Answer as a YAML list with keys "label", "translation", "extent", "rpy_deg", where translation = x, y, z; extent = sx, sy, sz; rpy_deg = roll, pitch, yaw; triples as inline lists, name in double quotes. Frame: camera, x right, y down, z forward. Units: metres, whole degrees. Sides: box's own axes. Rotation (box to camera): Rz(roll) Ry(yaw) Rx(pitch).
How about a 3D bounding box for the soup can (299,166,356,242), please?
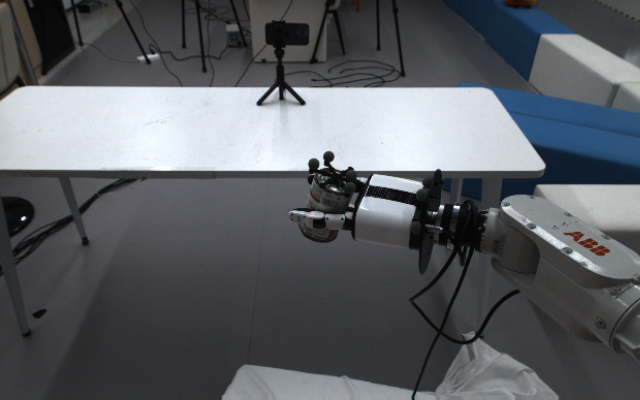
- label: "soup can"
  translation: [0.010, 0.010, 0.769]
  extent: [0.067, 0.101, 0.067]
  rpy_deg: [13, 34, -9]
